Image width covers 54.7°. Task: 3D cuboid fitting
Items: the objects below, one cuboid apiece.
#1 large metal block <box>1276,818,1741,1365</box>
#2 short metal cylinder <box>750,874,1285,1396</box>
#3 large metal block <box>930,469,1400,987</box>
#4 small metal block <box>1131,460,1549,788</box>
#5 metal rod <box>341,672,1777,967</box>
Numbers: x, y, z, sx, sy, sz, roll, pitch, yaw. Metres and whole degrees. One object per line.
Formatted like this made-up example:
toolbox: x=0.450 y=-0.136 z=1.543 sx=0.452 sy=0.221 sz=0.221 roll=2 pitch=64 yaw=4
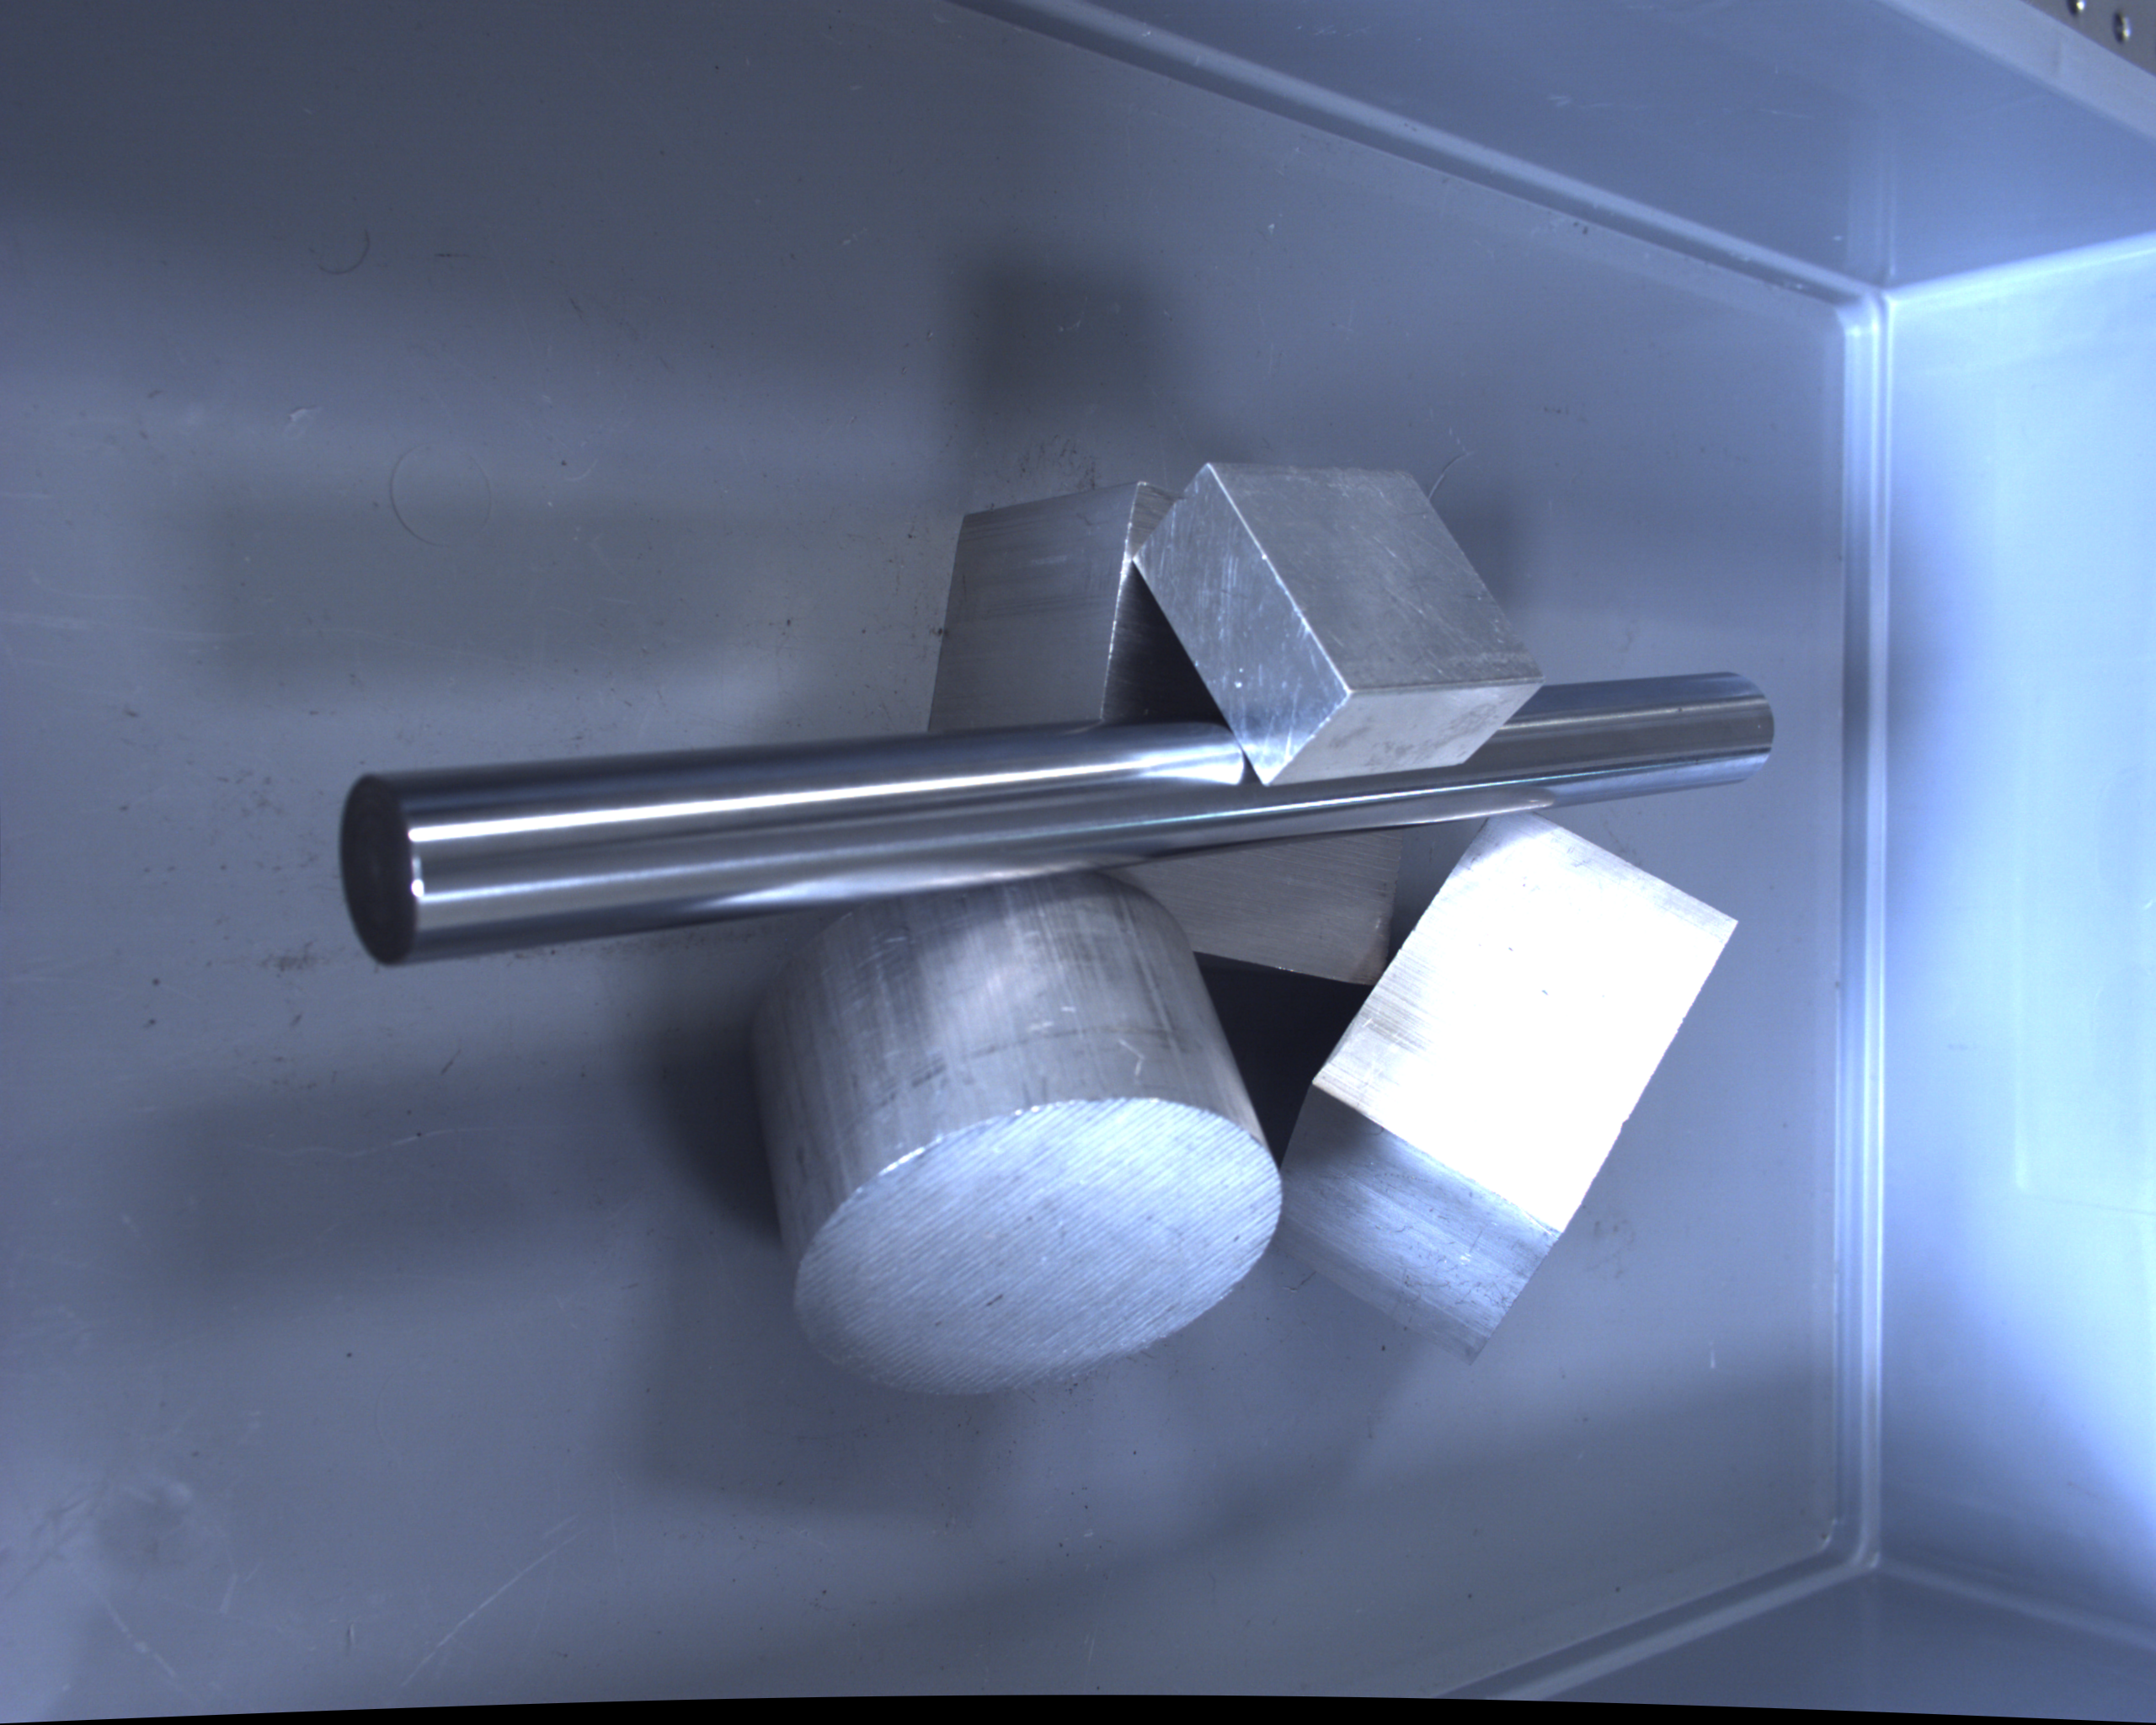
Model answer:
large metal block: x=0.085 y=0.046 z=0.432 sx=0.080 sy=0.050 sz=0.080 roll=-52 pitch=165 yaw=-27
short metal cylinder: x=-0.011 y=0.046 z=0.352 sx=0.080 sy=0.080 sz=0.050 roll=25 pitch=32 yaw=-38
large metal block: x=0.019 y=-0.022 z=0.404 sx=0.081 sy=0.050 sz=0.080 roll=14 pitch=81 yaw=-39
small metal block: x=0.045 y=-0.042 z=0.362 sx=0.050 sy=0.025 sz=0.050 roll=-8 pitch=60 yaw=-40
metal rod: x=0.027 y=-0.014 z=0.362 sx=0.302 sy=0.025 sz=0.025 roll=-7 pitch=95 yaw=-39
